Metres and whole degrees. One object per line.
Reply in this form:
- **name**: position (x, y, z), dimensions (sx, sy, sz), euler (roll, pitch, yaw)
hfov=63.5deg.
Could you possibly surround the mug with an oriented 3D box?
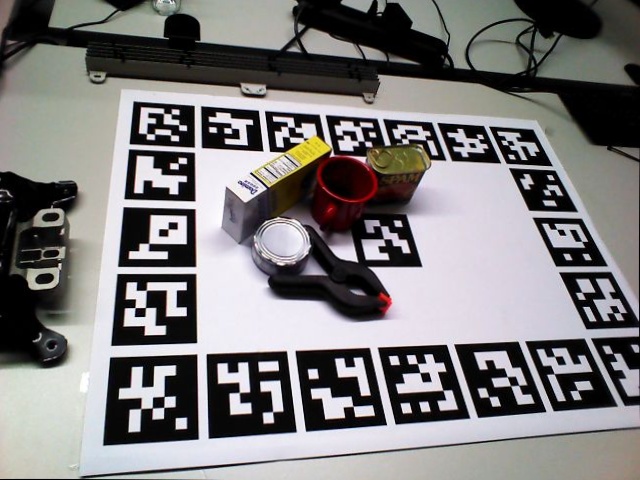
- **mug**: position (0.036, -0.060, 0.761), dimensions (0.093, 0.082, 0.116), euler (21, 55, 0)

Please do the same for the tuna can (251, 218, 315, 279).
- **tuna can**: position (-0.052, 0.013, 0.720), dimensions (0.086, 0.034, 0.085), euler (6, 56, -10)

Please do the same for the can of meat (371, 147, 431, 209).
- **can of meat**: position (0.125, -0.097, 0.819), dimensions (0.101, 0.084, 0.057), euler (-6, 56, -20)

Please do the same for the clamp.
- **clamp**: position (0.030, 0.062, 0.712), dimensions (0.165, 0.037, 0.121), euler (31, 50, 3)

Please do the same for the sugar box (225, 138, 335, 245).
- **sugar box**: position (-0.056, -0.072, 0.750), dimensions (0.045, 0.093, 0.175), euler (42, 55, 18)
